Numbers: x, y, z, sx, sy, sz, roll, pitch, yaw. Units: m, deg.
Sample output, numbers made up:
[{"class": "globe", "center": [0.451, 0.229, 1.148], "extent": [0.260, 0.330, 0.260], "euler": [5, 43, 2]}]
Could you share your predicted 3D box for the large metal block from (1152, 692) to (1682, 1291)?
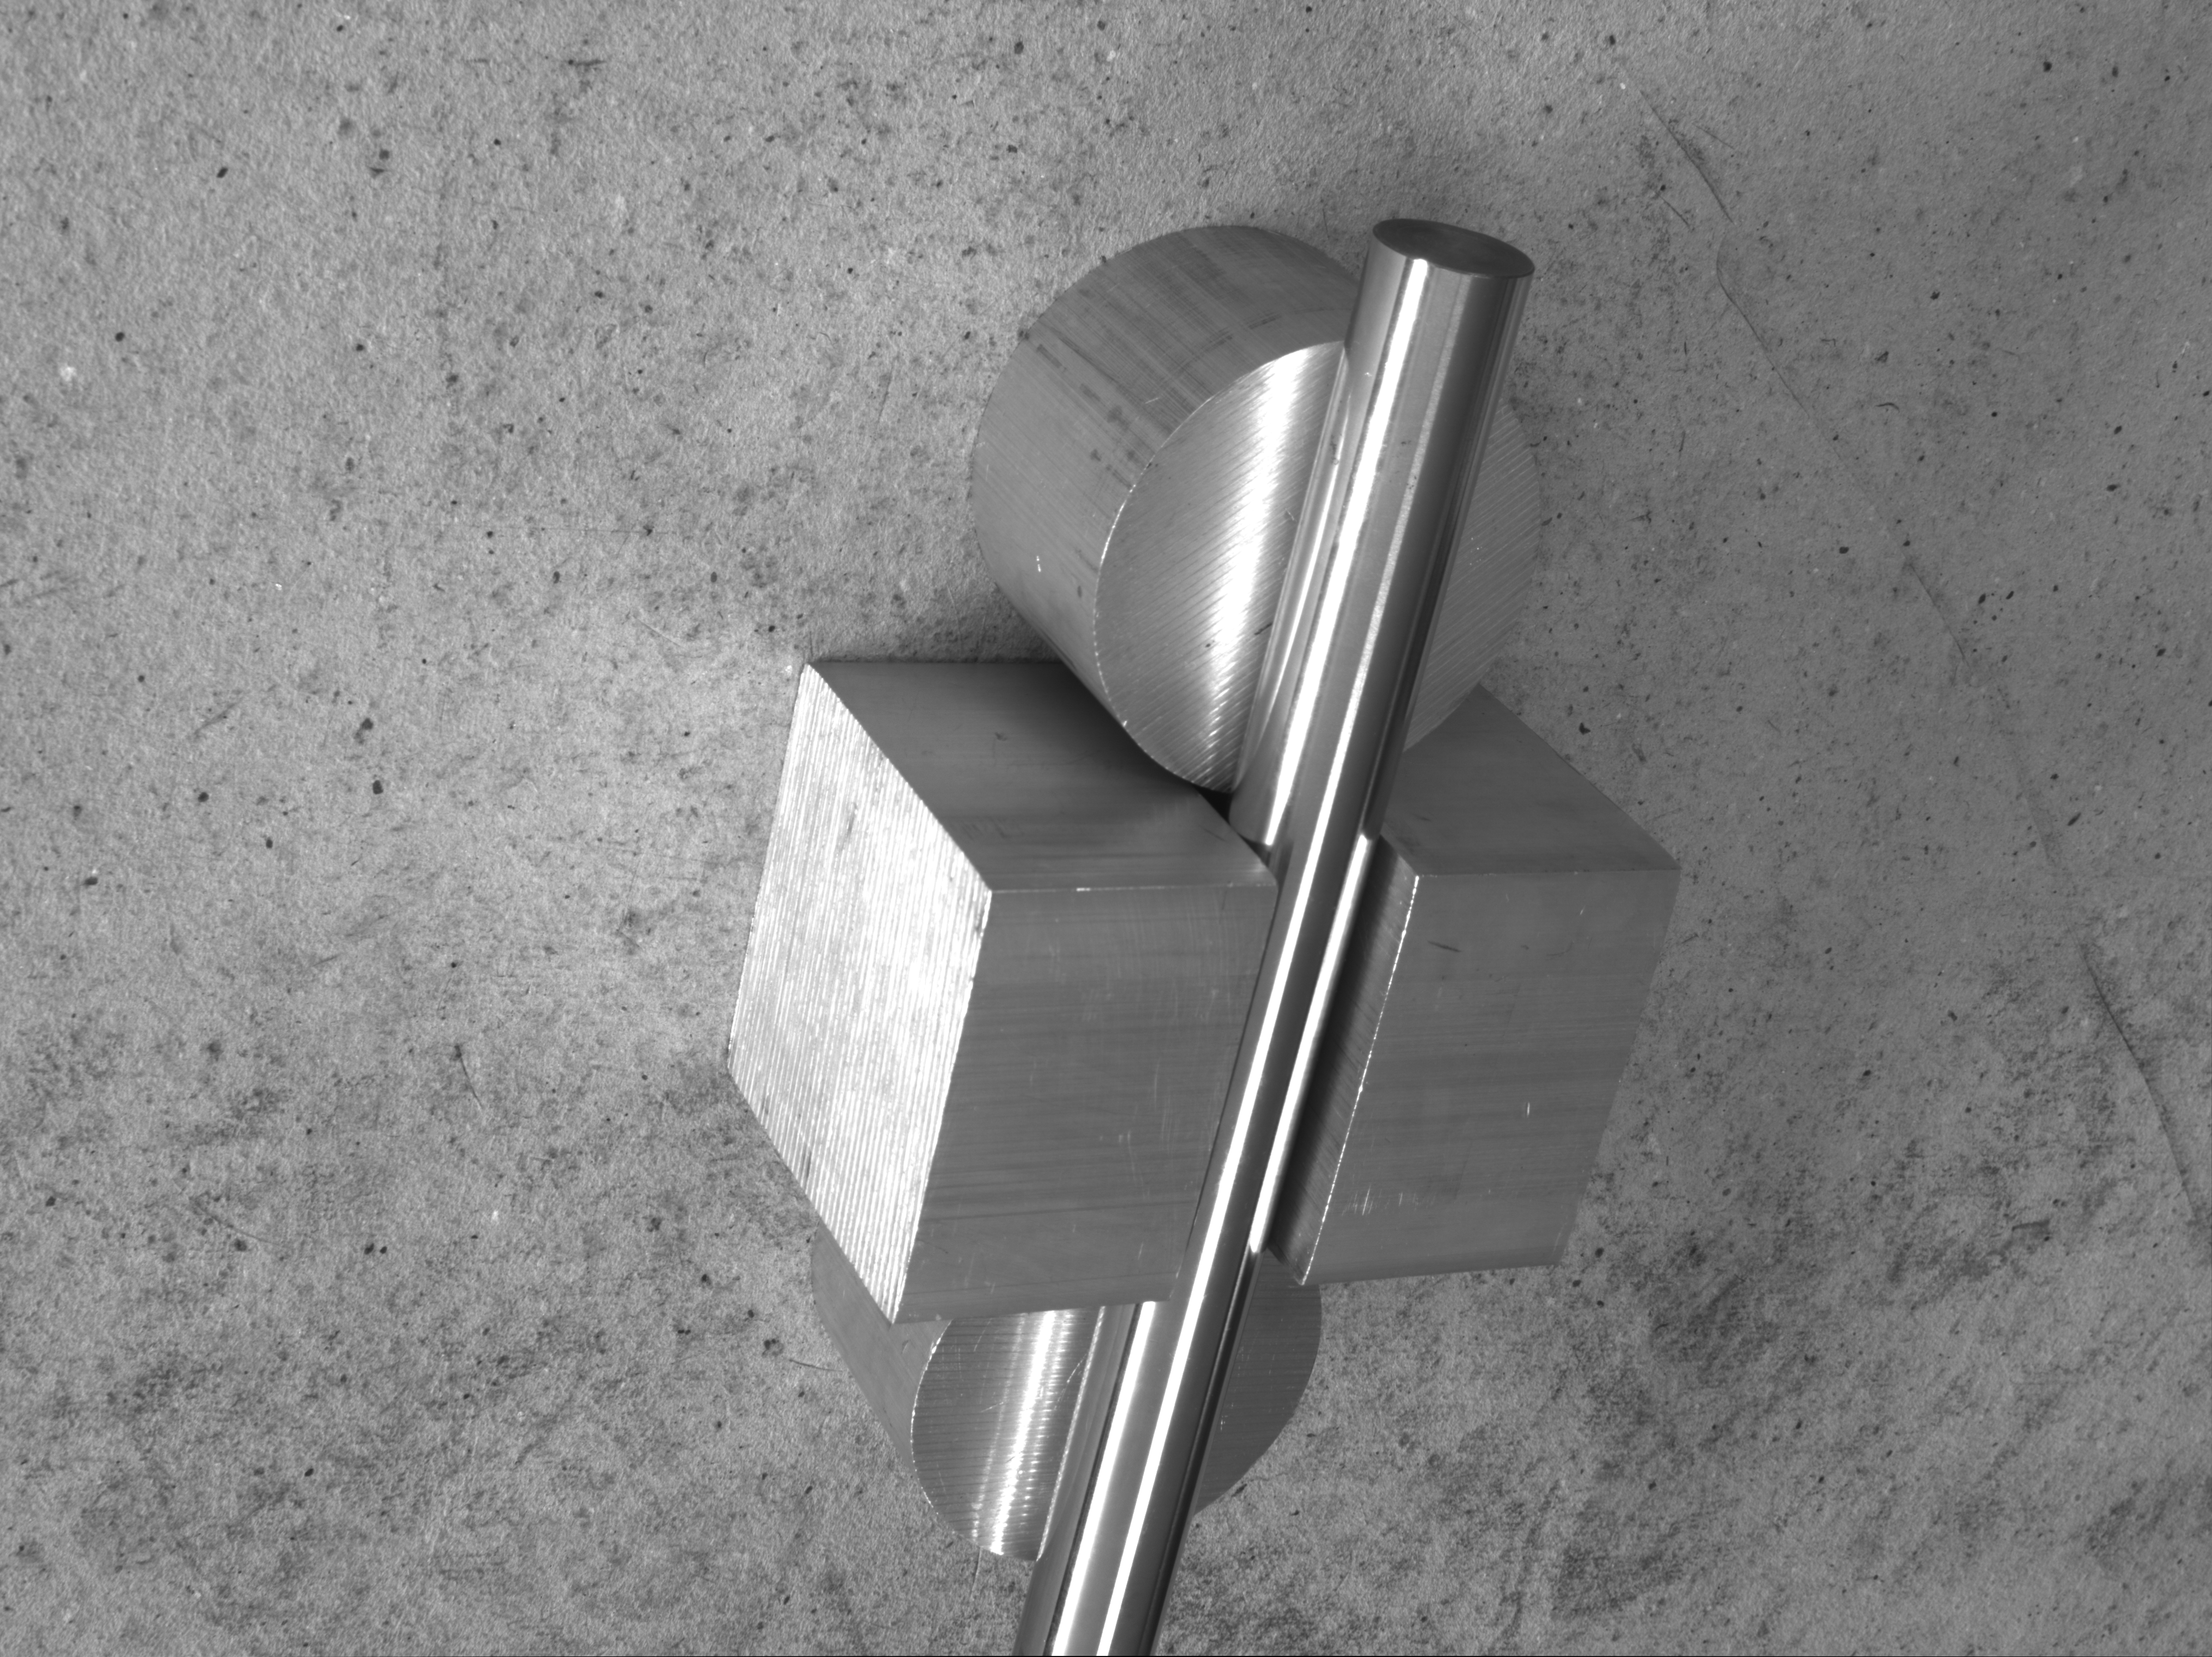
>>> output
[{"class": "large metal block", "center": [0.048, 0.023, 0.642], "extent": [0.050, 0.080, 0.080], "euler": [-1, 118, -28]}]

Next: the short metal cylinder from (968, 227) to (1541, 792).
[{"class": "short metal cylinder", "center": [0.024, -0.052, 0.603], "extent": [0.080, 0.050, 0.080], "euler": [-13, 123, -21]}]

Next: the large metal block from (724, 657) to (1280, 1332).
[{"class": "large metal block", "center": [-0.020, 0.025, 0.607], "extent": [0.050, 0.080, 0.080], "euler": [-1, 118, -28]}]

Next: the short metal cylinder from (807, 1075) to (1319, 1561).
[{"class": "short metal cylinder", "center": [-0.008, 0.086, 0.670], "extent": [0.080, 0.050, 0.080], "euler": [-13, 123, -21]}]

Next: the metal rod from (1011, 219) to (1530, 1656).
[{"class": "metal rod", "center": [0.020, 0.046, 0.612], "extent": [0.025, 0.025, 0.300], "euler": [-1, 118, -28]}]
